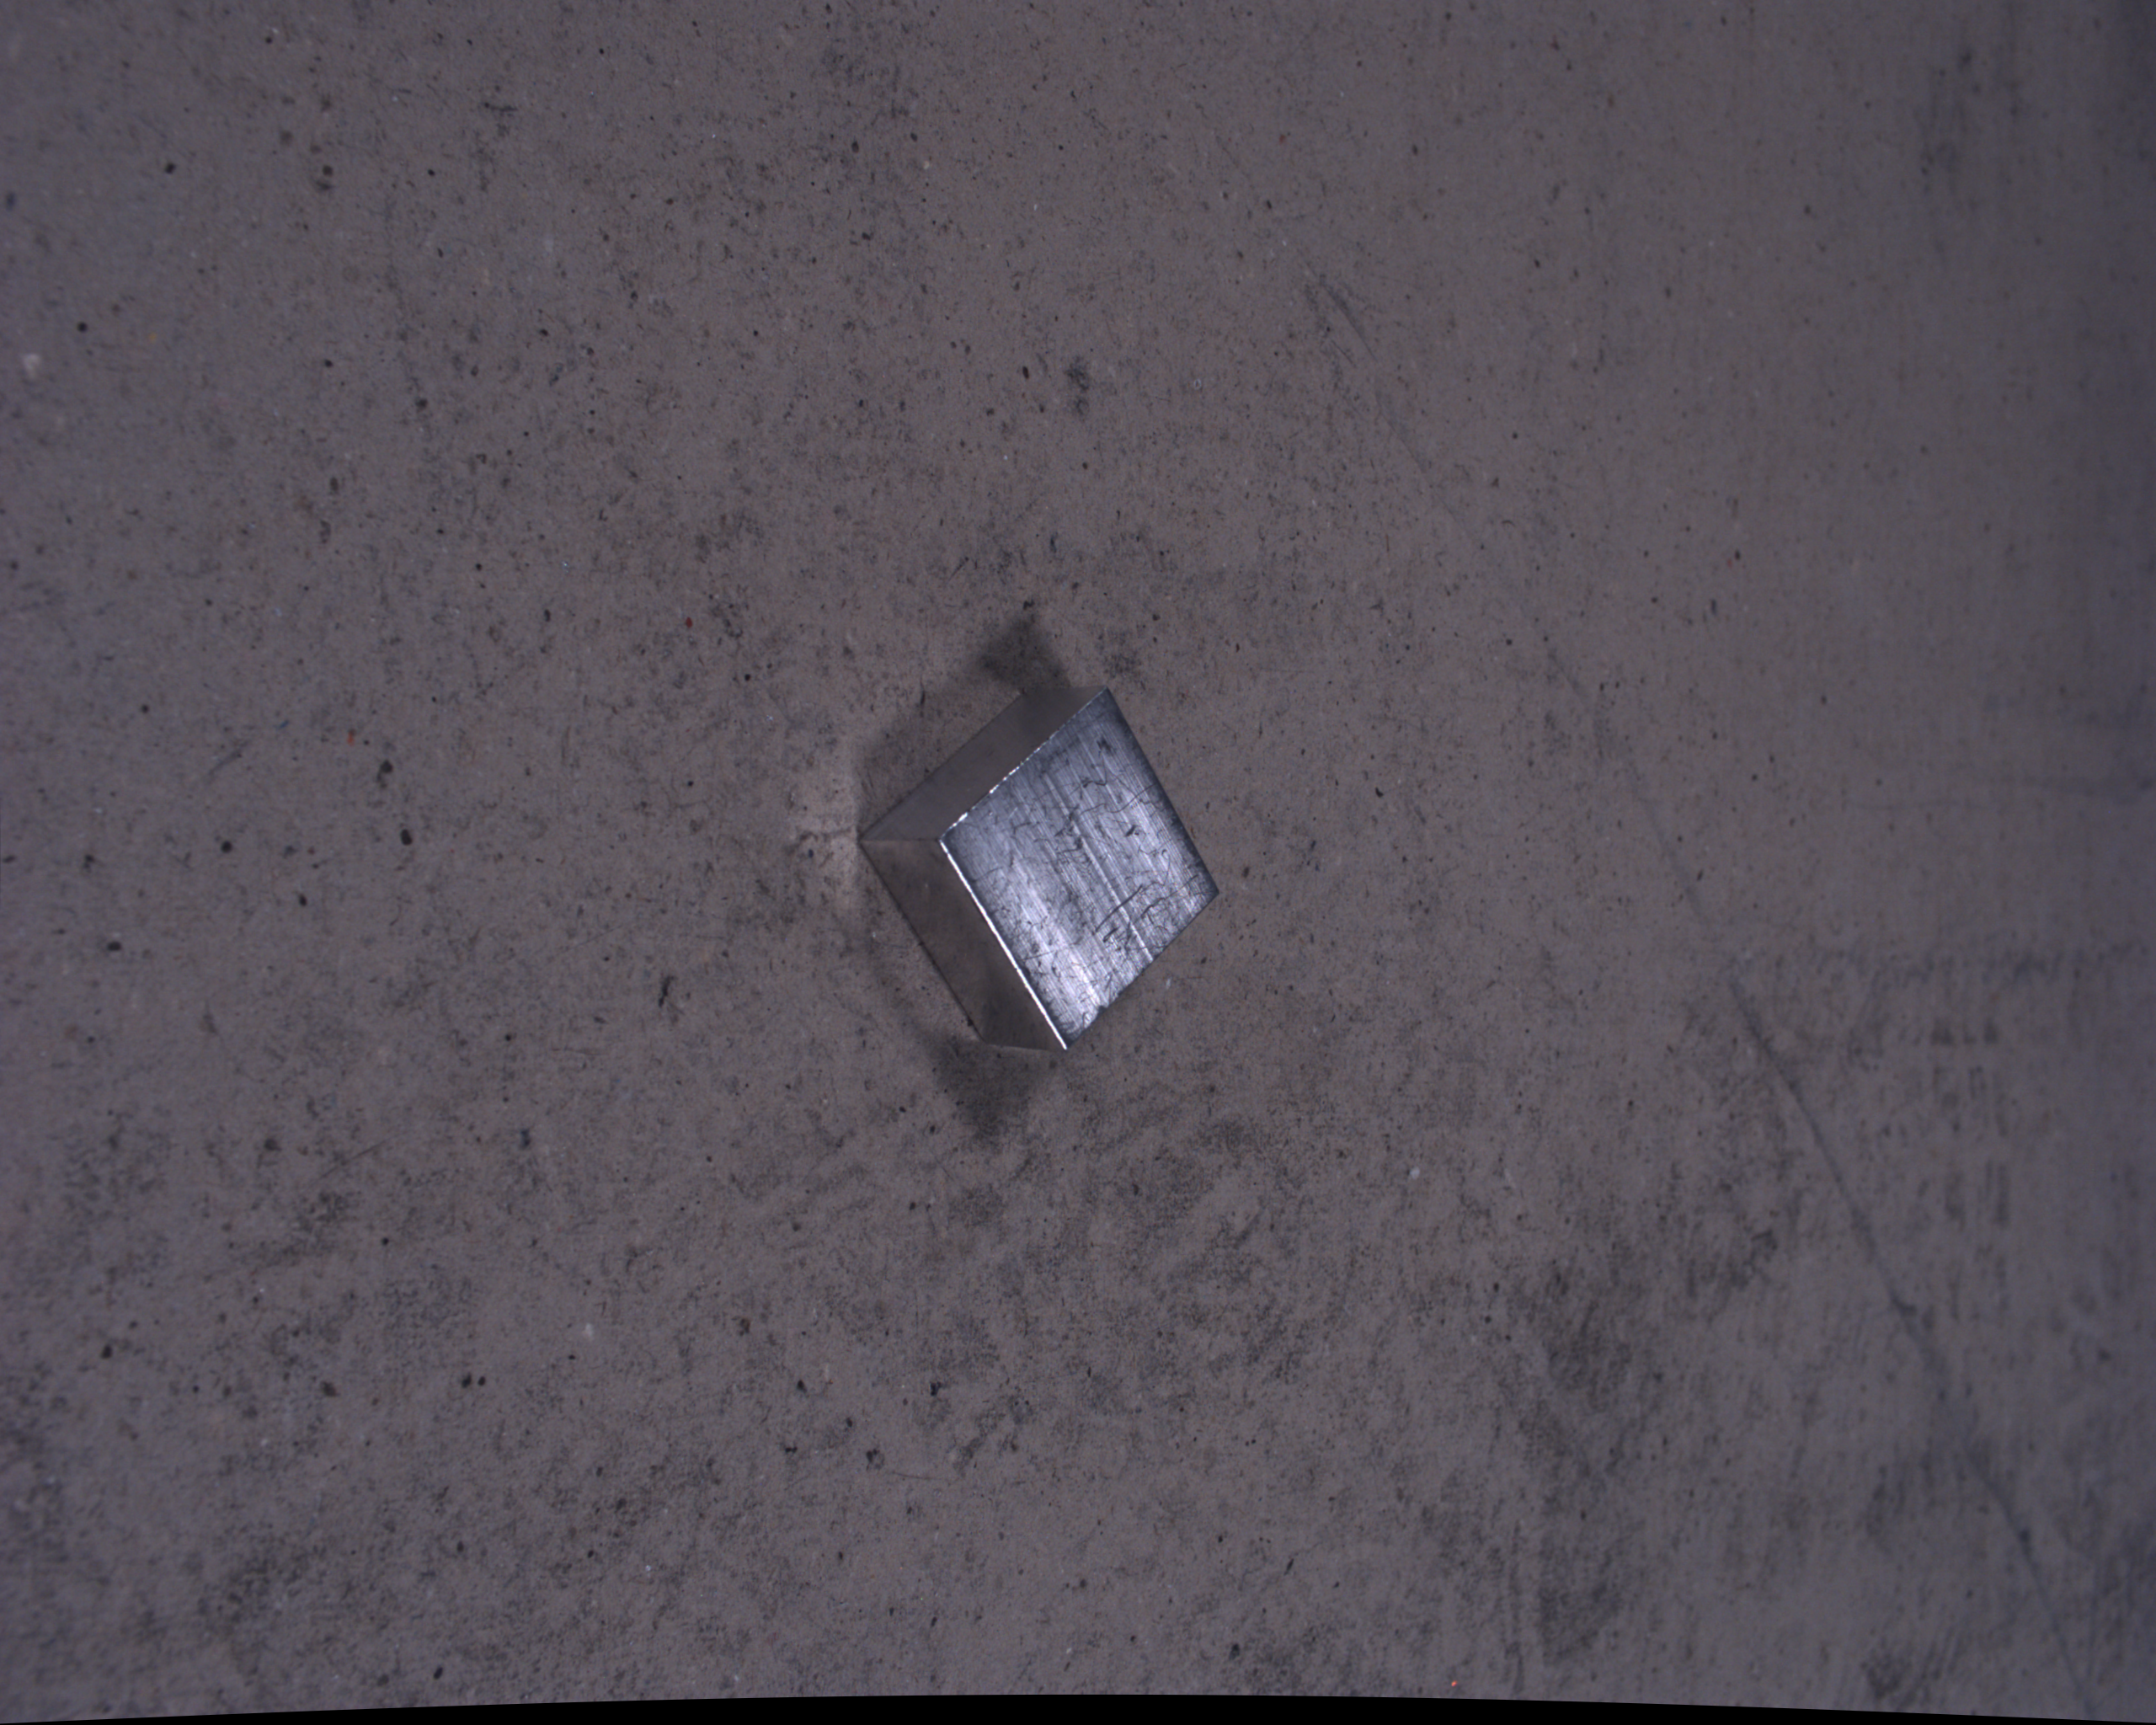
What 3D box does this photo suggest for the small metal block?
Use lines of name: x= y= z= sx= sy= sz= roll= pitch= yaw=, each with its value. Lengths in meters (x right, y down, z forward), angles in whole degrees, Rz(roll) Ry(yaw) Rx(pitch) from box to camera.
small metal block: x=-0.006 y=0.001 z=0.403 sx=0.050 sy=0.025 sz=0.050 roll=-44 pitch=117 yaw=-31
